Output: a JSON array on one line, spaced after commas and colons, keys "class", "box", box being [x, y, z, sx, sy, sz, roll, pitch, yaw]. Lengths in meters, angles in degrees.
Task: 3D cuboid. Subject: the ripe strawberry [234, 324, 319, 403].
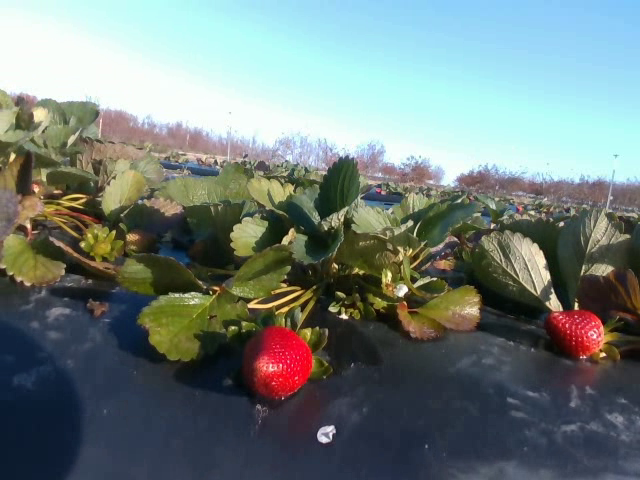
[{"class": "ripe strawberry", "box": [-0.024, 0.062, 0.310, 0.045, 0.042, 0.055, 21, -1, 9]}]

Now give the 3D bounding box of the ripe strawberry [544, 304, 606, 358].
[{"class": "ripe strawberry", "box": [0.154, 0.053, 0.376, 0.046, 0.036, 0.035, 21, 29, 0]}]
